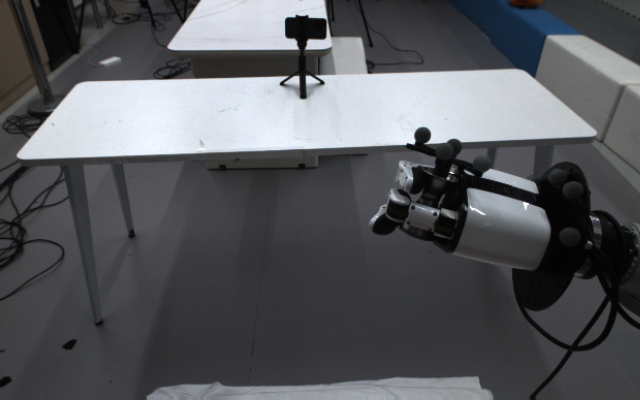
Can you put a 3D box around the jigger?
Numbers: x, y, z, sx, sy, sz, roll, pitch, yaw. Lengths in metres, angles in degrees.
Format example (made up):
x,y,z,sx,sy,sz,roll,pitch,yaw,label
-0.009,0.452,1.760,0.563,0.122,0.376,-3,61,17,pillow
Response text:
x,y,z,sx,sy,sz,roll,pitch,yaw,label
0.114,0.004,0.511,0.043,0.071,0.043,18,17,-6,jigger
